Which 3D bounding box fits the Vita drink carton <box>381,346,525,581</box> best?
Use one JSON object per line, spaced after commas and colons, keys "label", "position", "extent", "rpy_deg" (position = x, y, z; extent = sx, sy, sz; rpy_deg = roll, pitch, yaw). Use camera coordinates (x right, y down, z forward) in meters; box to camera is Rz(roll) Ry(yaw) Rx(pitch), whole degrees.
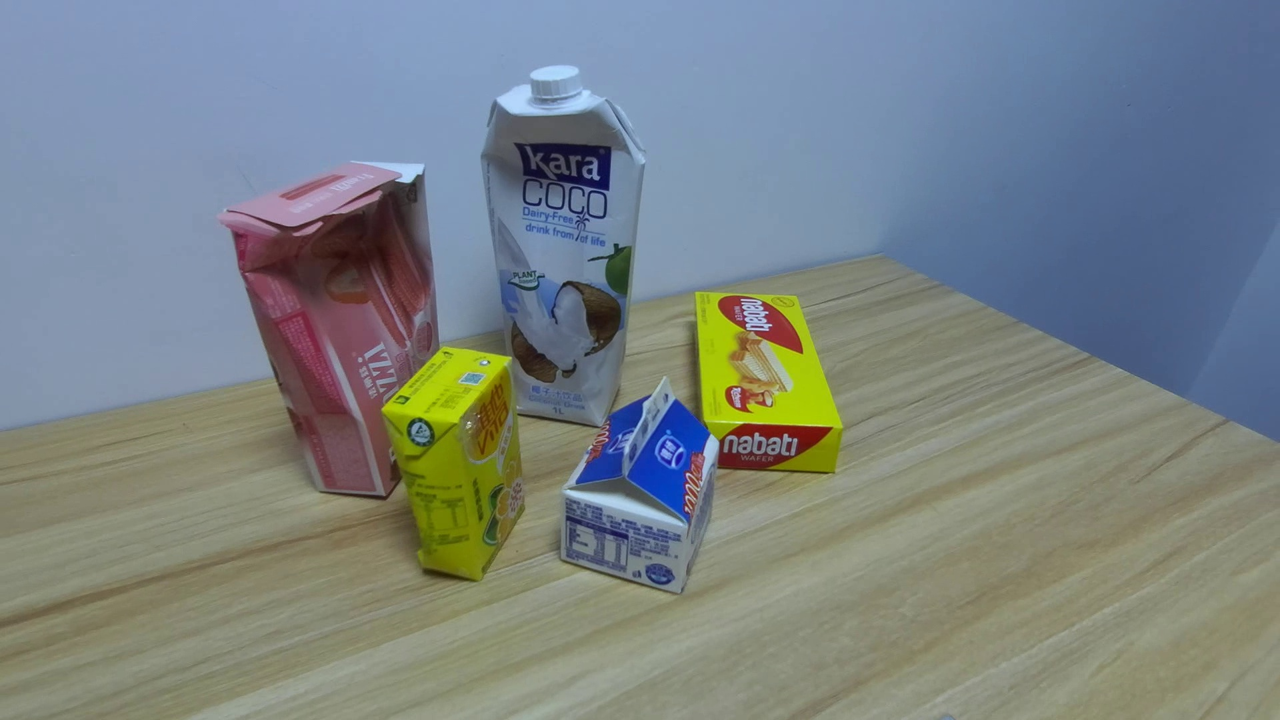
{"label": "Vita drink carton", "position": [-0.098, 0.058, 0.383], "extent": [0.043, 0.109, 0.076], "rpy_deg": [8, 32, 12]}

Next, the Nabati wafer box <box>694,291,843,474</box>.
{"label": "Nabati wafer box", "position": [0.090, 0.008, 0.546], "extent": [0.093, 0.042, 0.202], "rpy_deg": [4, 30, 1]}

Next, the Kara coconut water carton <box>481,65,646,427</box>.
{"label": "Kara coconut water carton", "position": [-0.052, -0.071, 0.476], "extent": [0.115, 0.238, 0.069], "rpy_deg": [9, 33, 10]}

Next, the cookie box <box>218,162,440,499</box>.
{"label": "cookie box", "position": [-0.167, -0.014, 0.425], "extent": [0.055, 0.184, 0.118], "rpy_deg": [10, 32, 11]}

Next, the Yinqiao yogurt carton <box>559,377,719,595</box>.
{"label": "Yinqiao yogurt carton", "position": [0.002, 0.064, 0.394], "extent": [0.073, 0.092, 0.076], "rpy_deg": [11, 33, 15]}
